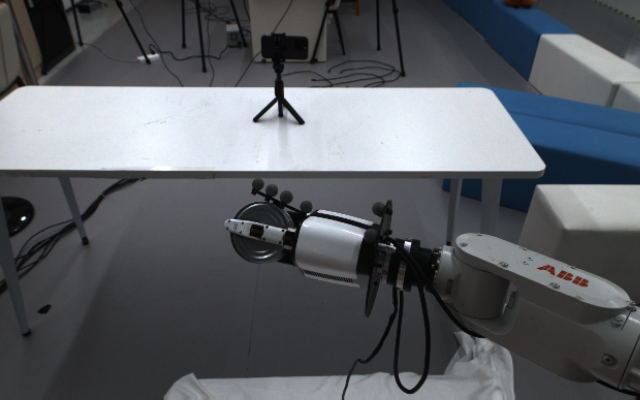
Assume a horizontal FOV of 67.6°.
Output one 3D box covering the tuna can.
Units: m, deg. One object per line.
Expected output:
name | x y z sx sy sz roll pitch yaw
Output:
tuna can | -0.077 0.046 0.675 0.085 0.085 0.034 13 -6 16
